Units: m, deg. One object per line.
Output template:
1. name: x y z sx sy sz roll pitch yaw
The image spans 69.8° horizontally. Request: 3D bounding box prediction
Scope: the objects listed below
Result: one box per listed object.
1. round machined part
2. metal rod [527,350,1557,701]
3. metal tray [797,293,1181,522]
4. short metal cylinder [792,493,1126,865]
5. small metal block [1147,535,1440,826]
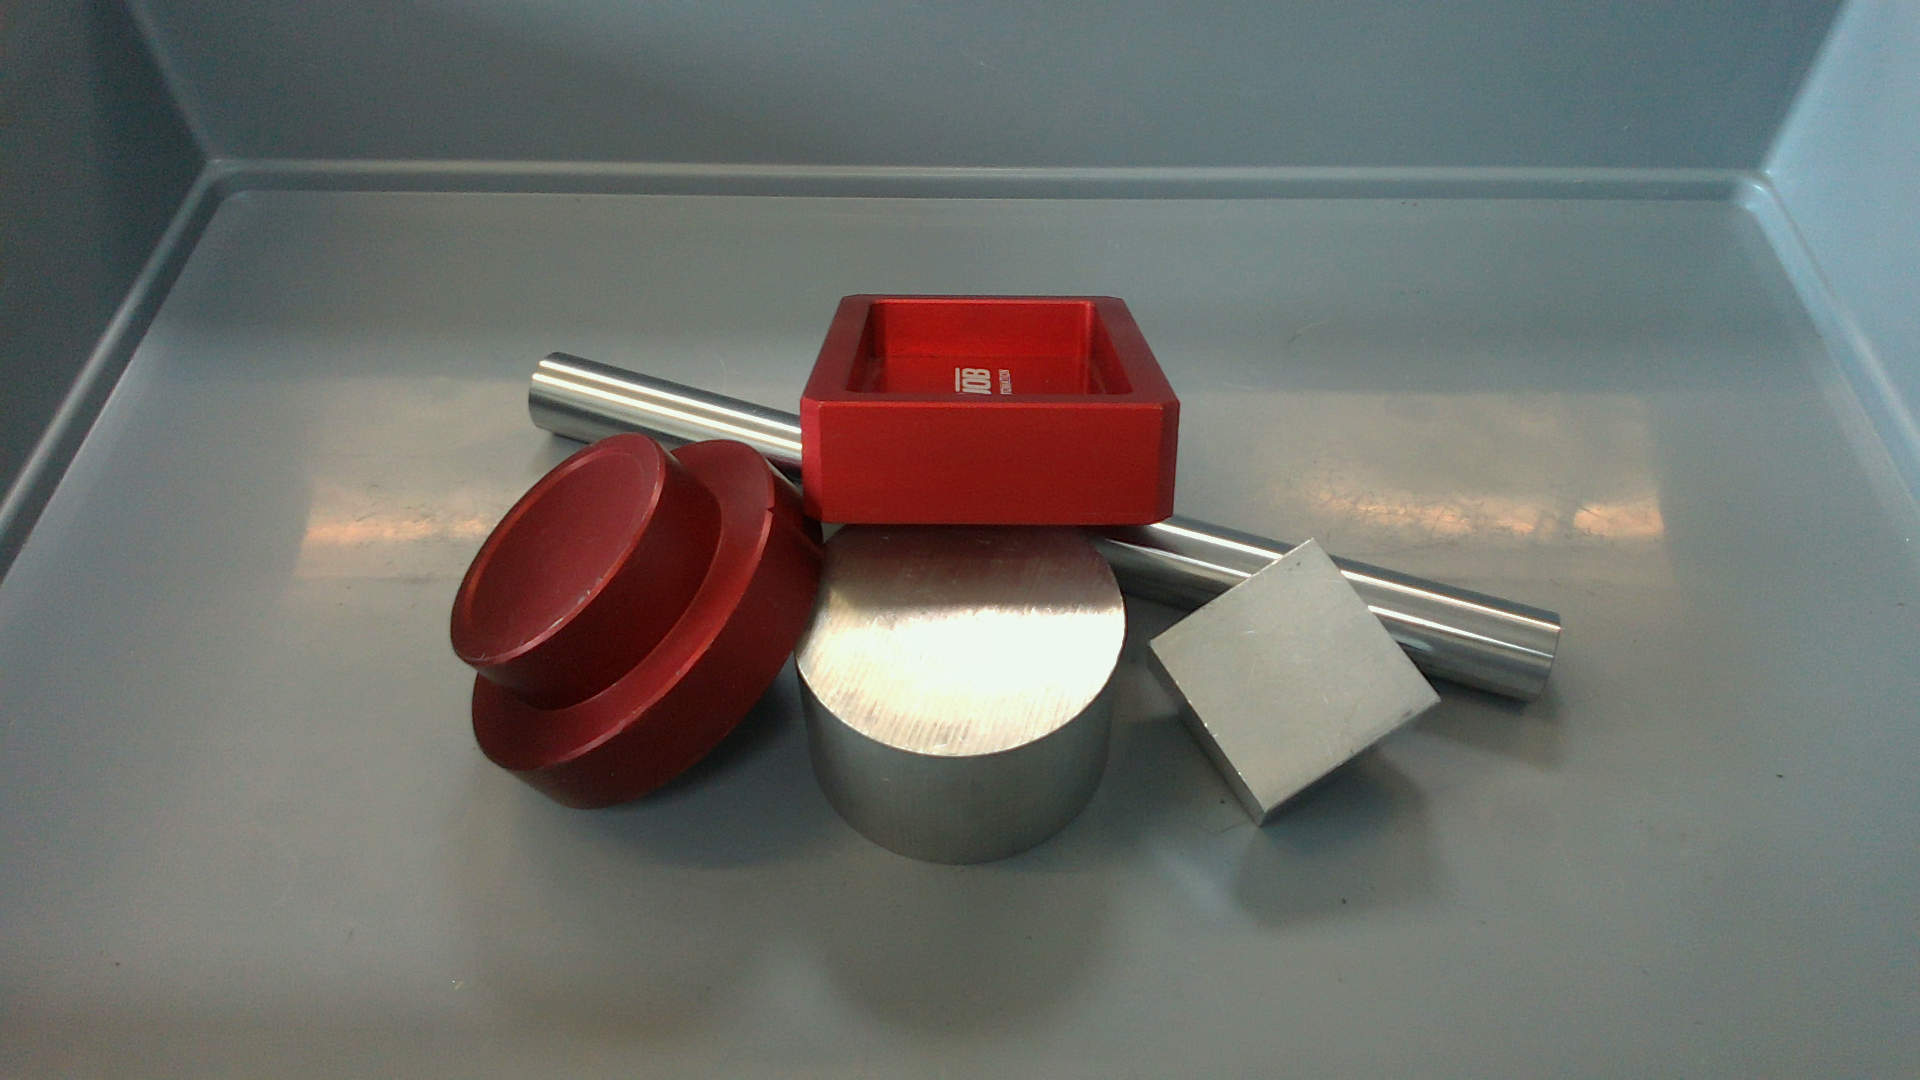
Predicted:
1. round machined part: -0.085 0.012 0.338 0.098 0.042 0.098 -25 40 23
2. metal rod: 0.013 -0.008 0.397 0.299 0.025 0.025 15 52 13
3. metal tray: 0.007 -0.041 0.383 0.090 0.030 0.130 0 21 0
4. short metal cylinder: -0.001 0.033 0.345 0.080 0.050 0.080 0 50 0
5. small metal block: 0.082 0.036 0.346 0.050 0.025 0.050 -32 71 -5
